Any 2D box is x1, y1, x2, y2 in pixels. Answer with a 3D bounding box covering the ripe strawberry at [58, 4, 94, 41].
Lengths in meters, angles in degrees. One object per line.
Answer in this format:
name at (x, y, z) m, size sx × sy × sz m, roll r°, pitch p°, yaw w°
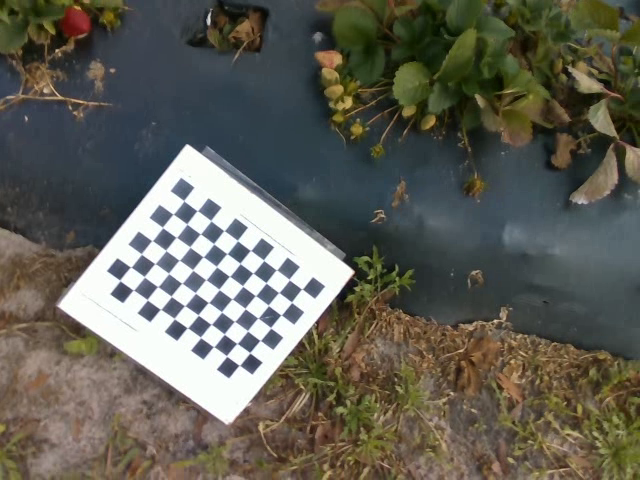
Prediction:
ripe strawberry at (-0.348, -0.312, 0.742) m, size 0.046 × 0.043 × 0.046 m, roll 36°, pitch 0°, yaw 23°
